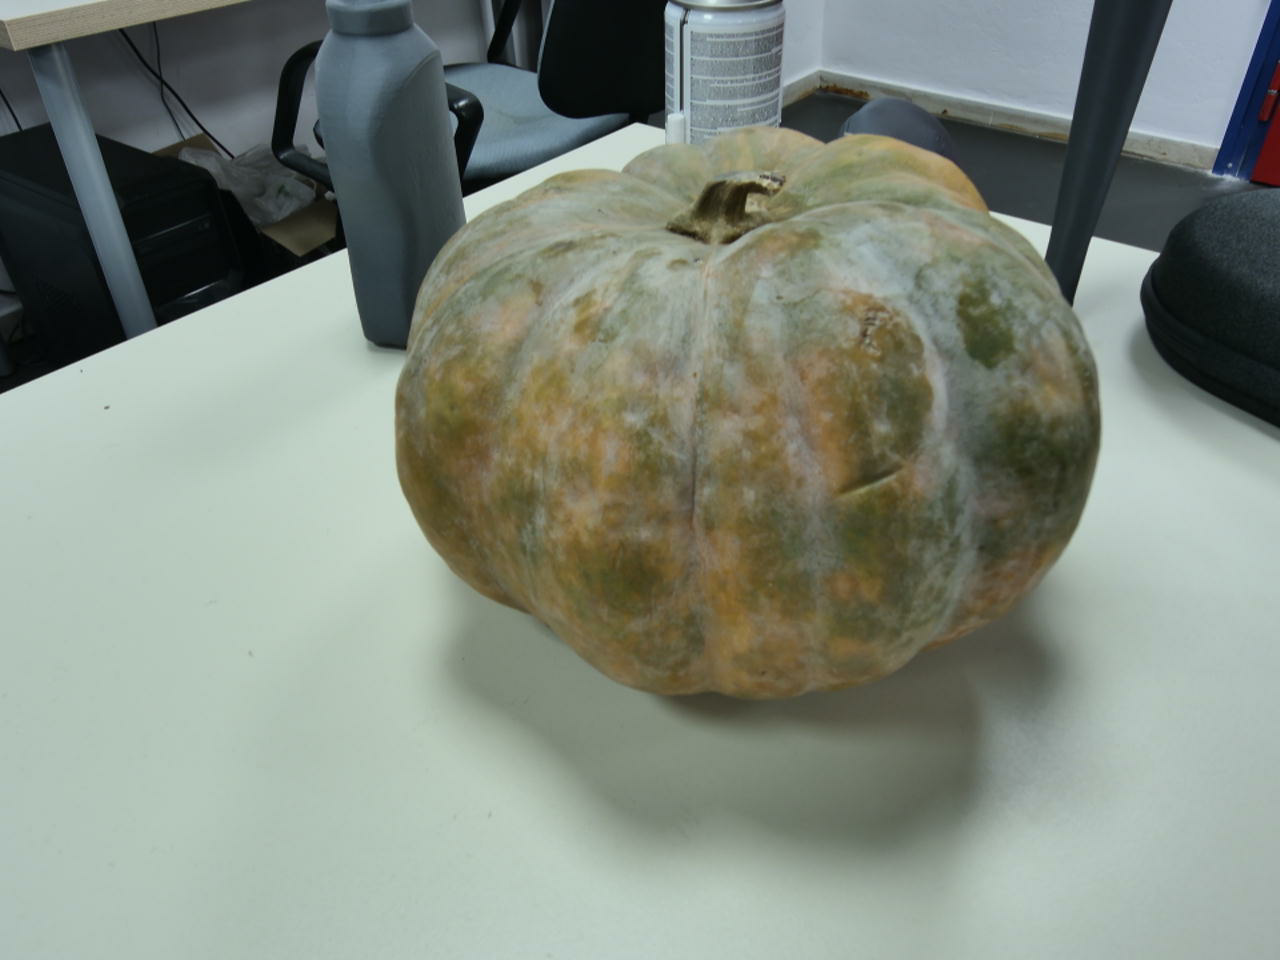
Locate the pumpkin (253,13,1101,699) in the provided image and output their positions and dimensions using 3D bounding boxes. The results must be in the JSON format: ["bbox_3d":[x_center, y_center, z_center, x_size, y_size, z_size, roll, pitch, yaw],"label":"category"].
[{"bbox_3d":[0.033,-0.034,0.368,0.252,0.169,0.251,0,36,0],"label":"pumpkin"}]
